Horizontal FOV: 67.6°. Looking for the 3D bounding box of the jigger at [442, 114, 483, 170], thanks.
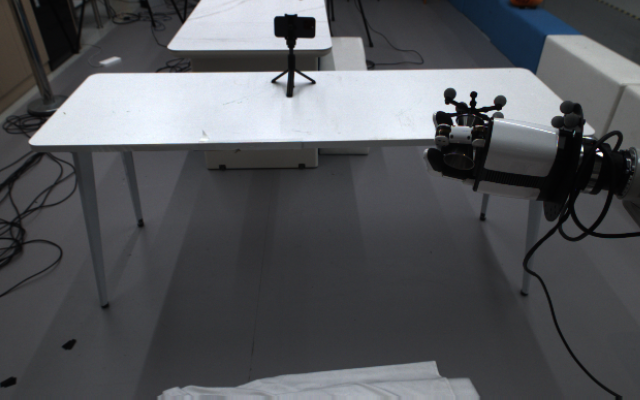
[{"bbox_3d":[0.207,-0.083,0.683,0.043,0.043,0.071,13,69,15],"label":"jigger"}]
